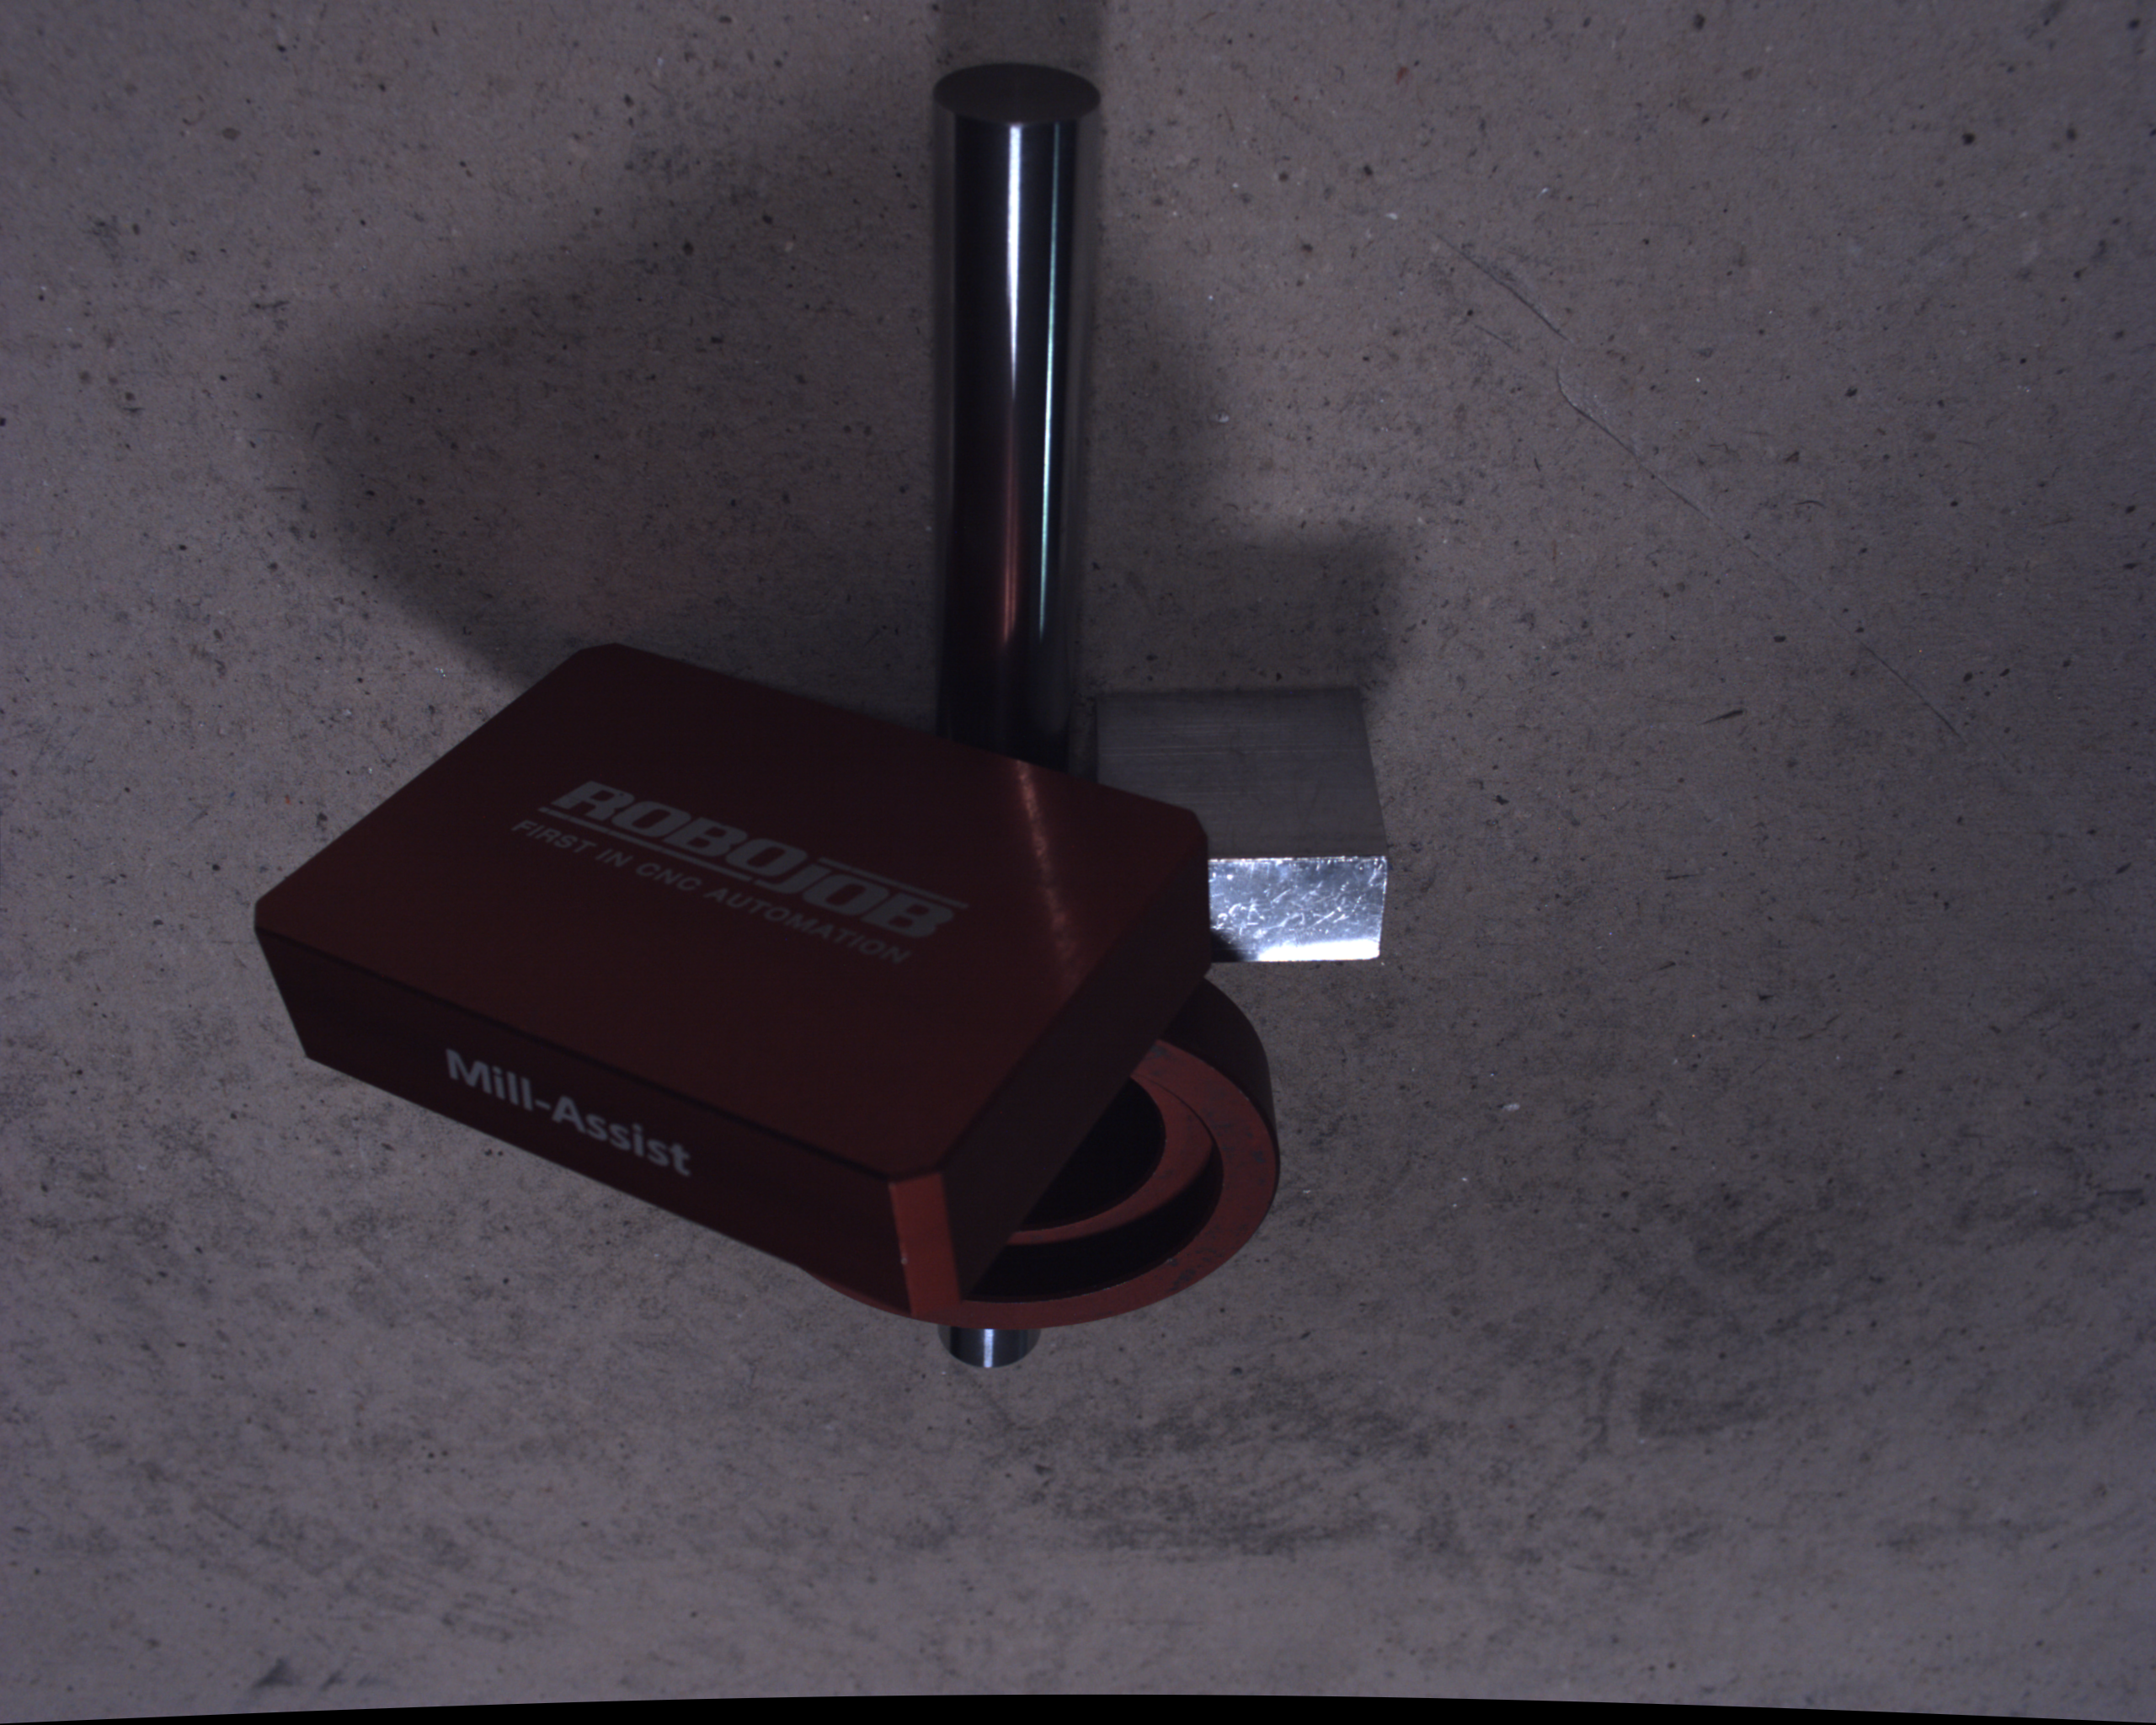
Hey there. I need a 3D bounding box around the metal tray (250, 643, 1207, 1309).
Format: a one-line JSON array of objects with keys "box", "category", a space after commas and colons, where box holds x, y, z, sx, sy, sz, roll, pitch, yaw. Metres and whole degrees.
[{"box": [-0.056, 0.012, 0.345, 0.130, 0.090, 0.030, 17, 133, 24], "category": "metal tray"}]

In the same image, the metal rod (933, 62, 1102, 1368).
[{"box": [-0.015, -0.002, 0.407, 0.025, 0.025, 0.298, 2, 130, -2], "category": "metal rod"}]

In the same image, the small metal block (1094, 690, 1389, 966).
[{"box": [0.029, -0.007, 0.387, 0.050, 0.050, 0.025, -1, 130, 0], "category": "small metal block"}]

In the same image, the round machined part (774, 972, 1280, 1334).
[{"box": [-0.013, 0.046, 0.400, 0.099, 0.042, 0.097, -2, 134, -2], "category": "round machined part"}]

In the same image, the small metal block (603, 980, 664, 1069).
[{"box": [-0.073, 0.016, 0.405, 0.050, 0.050, 0.025, -15, 129, 12], "category": "small metal block"}]
